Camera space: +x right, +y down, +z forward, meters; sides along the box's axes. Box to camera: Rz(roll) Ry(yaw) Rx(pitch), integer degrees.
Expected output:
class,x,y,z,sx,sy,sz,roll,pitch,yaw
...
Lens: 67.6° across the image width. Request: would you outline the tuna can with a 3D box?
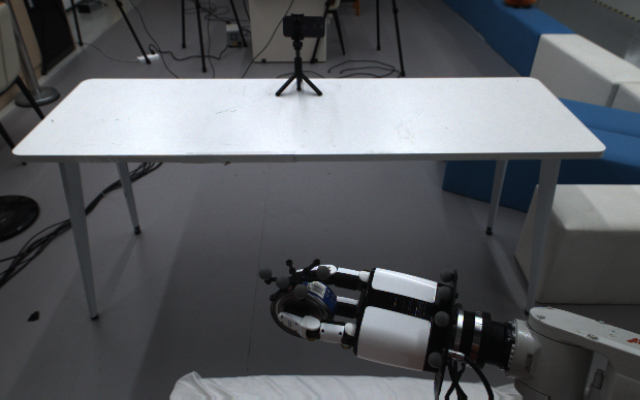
class,x,y,z,sx,sy,sz,roll,pitch,yaw
tuna can,-0.018,0.148,0.642,0.085,0.085,0.034,10,33,11
